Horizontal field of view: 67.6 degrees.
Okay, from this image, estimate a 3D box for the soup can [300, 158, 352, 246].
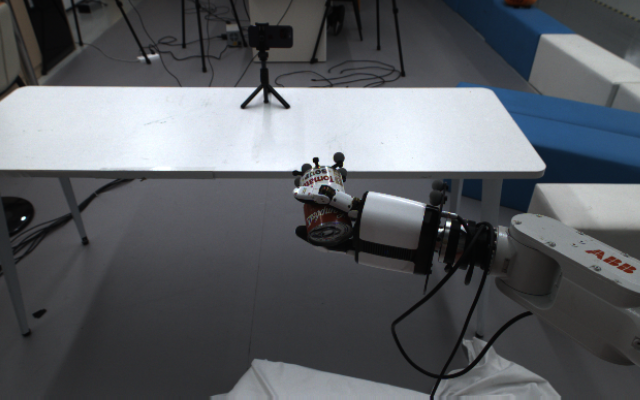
[{"bbox_3d":[0.009,0.009,0.718,0.067,0.067,0.101,-5,57,-10],"label":"soup can"}]
